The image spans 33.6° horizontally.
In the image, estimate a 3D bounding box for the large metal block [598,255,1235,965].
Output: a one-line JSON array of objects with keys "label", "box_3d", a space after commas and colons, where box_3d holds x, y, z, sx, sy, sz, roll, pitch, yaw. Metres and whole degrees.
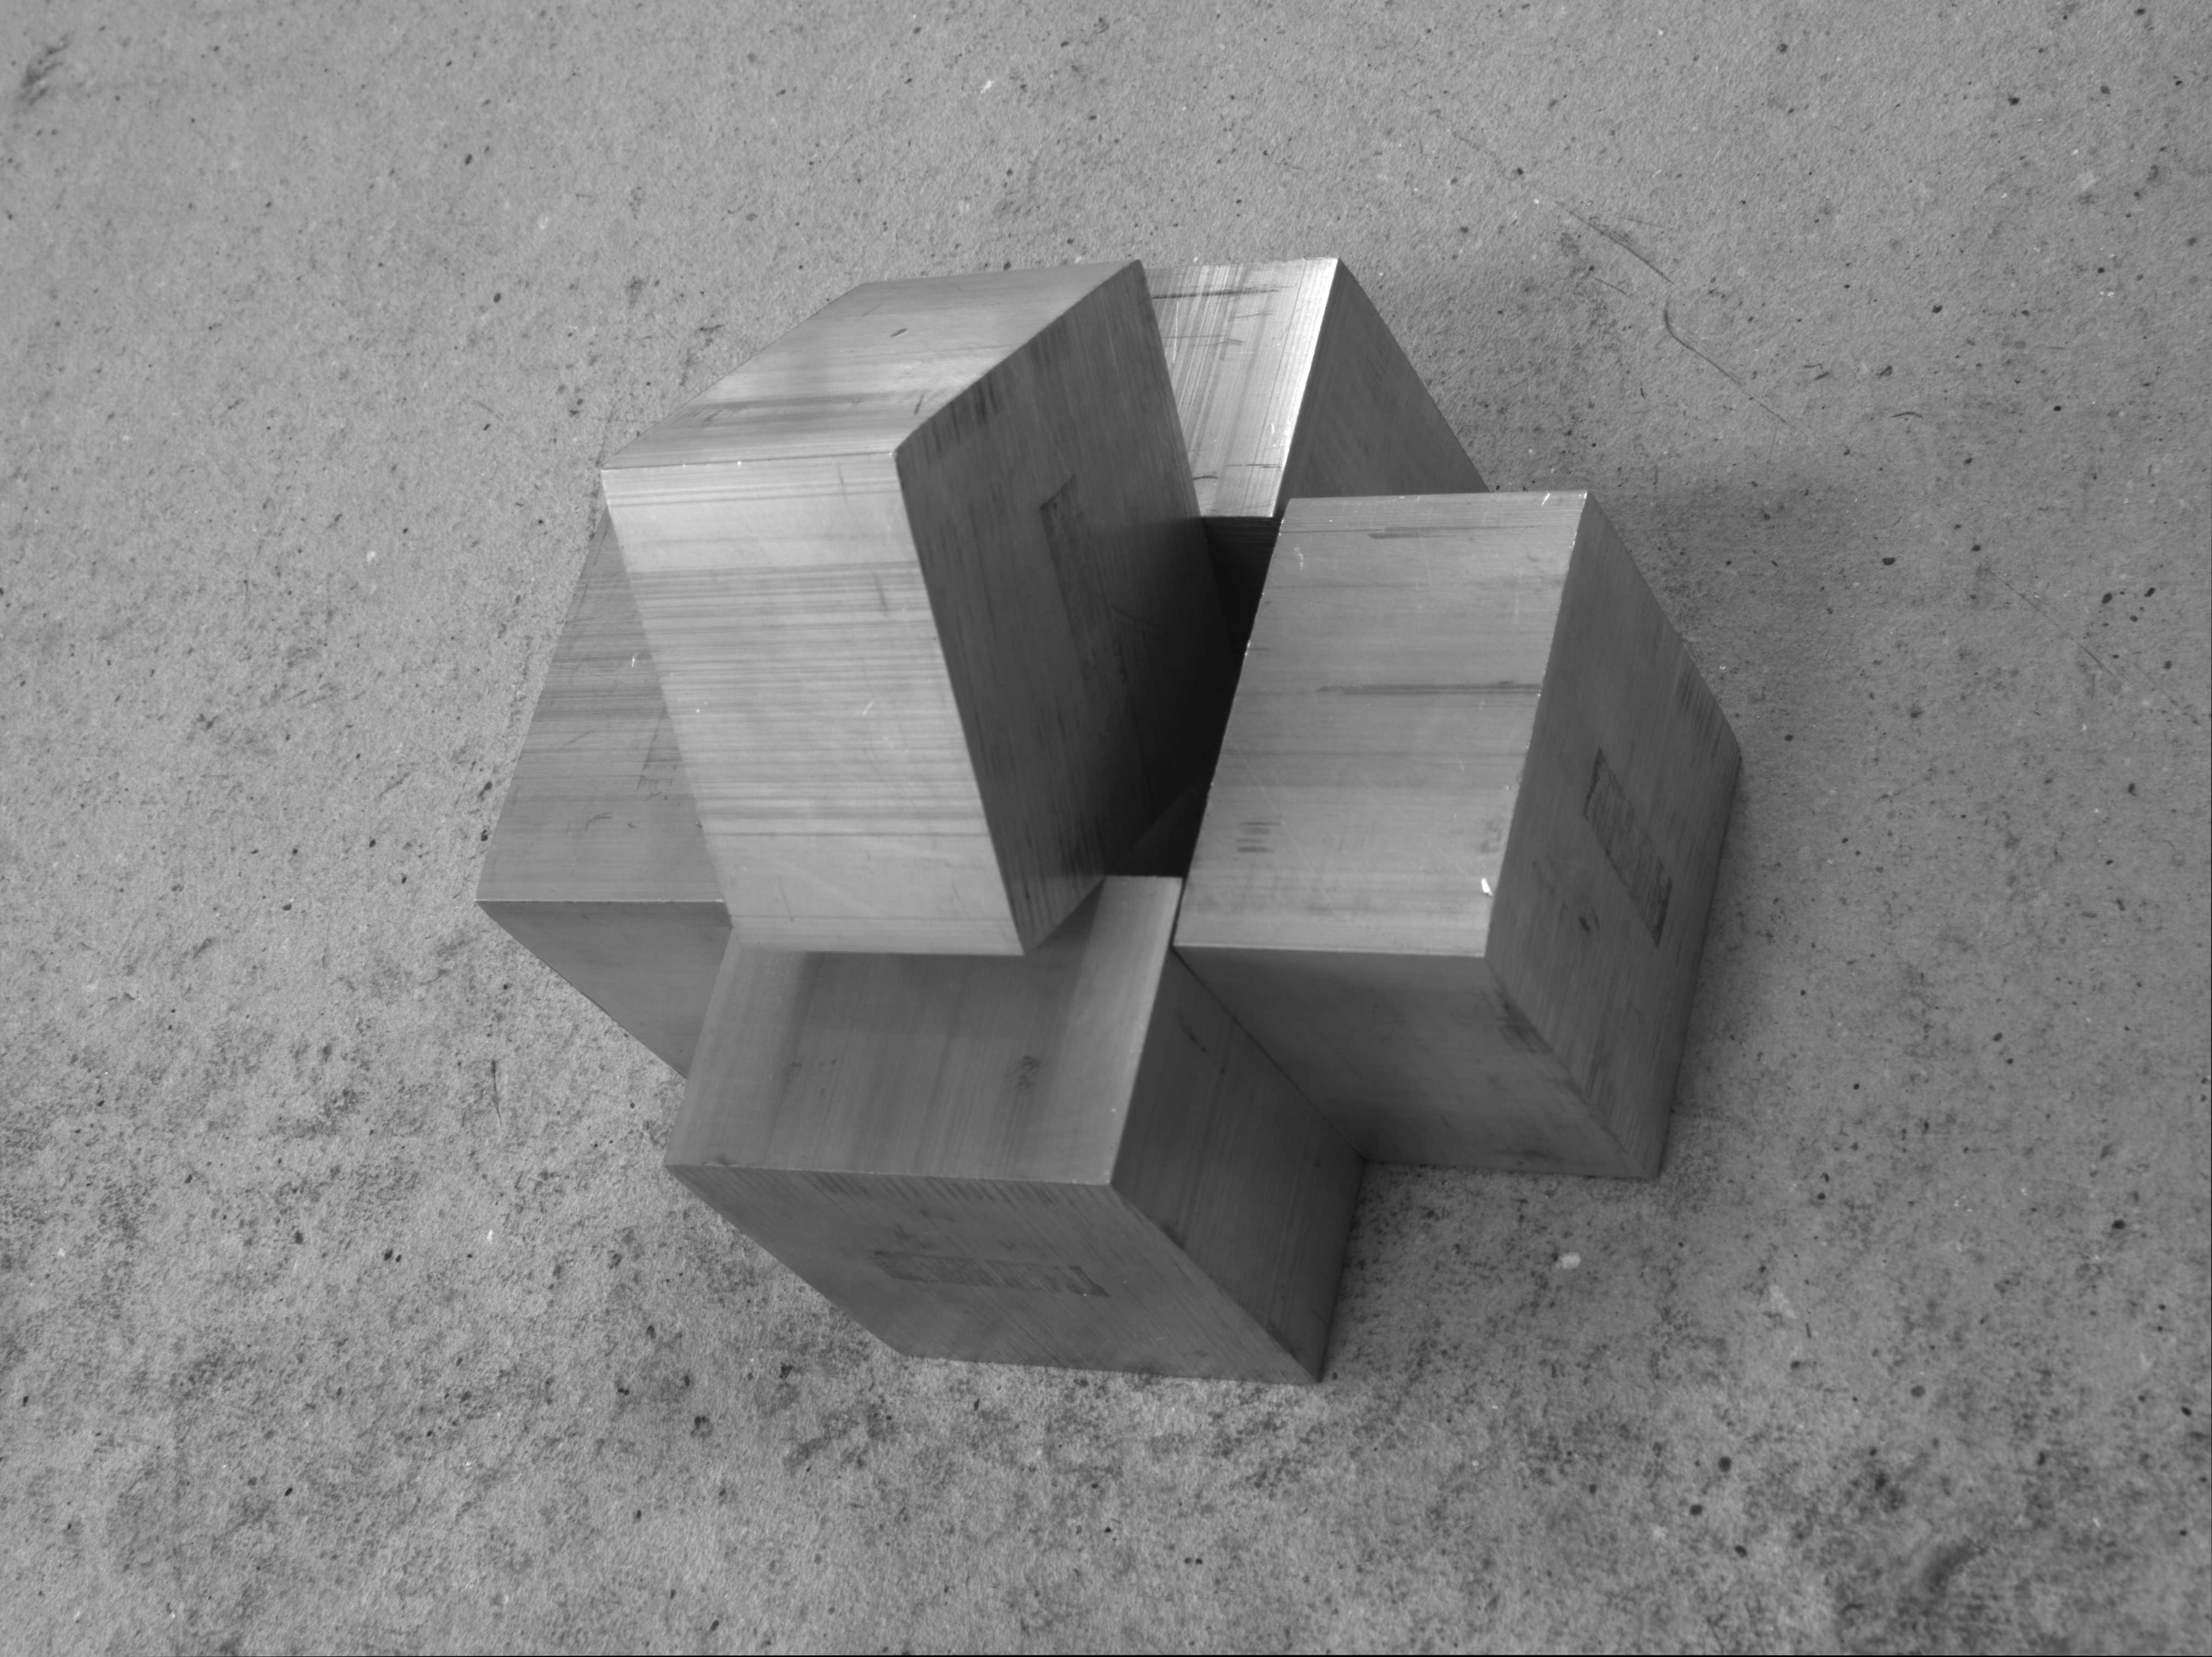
[{"label": "large metal block", "box_3d": [-0.025, -0.034, 0.559, 0.050, 0.080, 0.080, 1, 28, 29]}]

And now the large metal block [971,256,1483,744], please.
[{"label": "large metal block", "box_3d": [0.015, -0.052, 0.634, 0.080, 0.080, 0.050, 1, 62, 29]}]

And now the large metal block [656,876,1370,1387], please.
[{"label": "large metal block", "box_3d": [-0.011, 0.048, 0.586, 0.080, 0.080, 0.050, 0, 61, 28]}]

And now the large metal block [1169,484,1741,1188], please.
[{"label": "large metal block", "box_3d": [0.058, 0.002, 0.577, 0.050, 0.080, 0.080, 1, 62, 29]}]

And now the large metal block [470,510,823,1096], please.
[{"label": "large metal block", "box_3d": [-0.057, -0.005, 0.642, 0.050, 0.080, 0.080, 0, 61, 29]}]
